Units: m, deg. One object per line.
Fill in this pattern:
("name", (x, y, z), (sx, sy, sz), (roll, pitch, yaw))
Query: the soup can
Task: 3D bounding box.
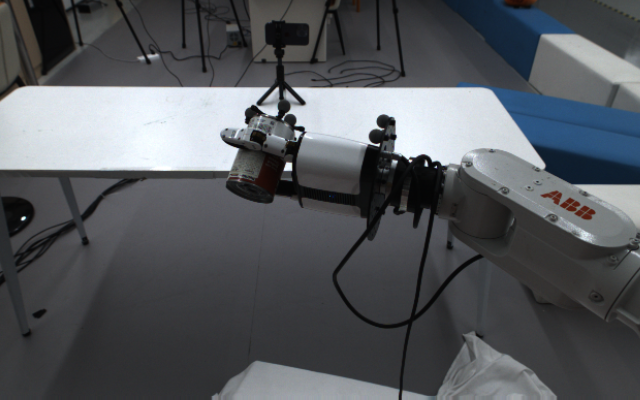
("soup can", (-0.080, -0.056, 0.652), (0.067, 0.067, 0.101), (12, 70, 14))
